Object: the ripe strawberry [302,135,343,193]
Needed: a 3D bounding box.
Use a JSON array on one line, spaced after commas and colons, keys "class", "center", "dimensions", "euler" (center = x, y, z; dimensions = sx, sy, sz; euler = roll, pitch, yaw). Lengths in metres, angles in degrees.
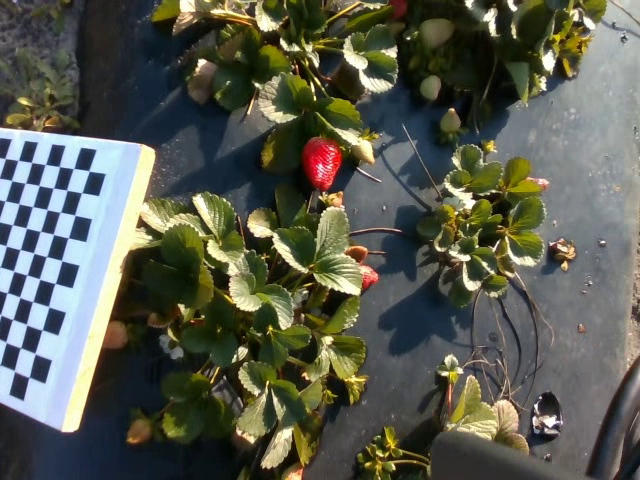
[{"class": "ripe strawberry", "center": [0.001, -0.083, 0.601], "dimensions": [0.056, 0.072, 0.055], "euler": [-14, -24, 27]}]
